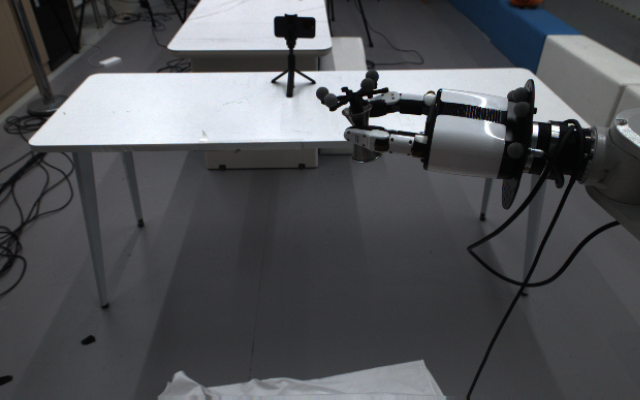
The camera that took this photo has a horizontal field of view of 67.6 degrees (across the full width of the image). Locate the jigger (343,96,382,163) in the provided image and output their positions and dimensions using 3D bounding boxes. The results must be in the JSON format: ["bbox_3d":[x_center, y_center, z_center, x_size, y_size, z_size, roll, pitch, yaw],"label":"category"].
[{"bbox_3d":[0.056,-0.089,0.640,0.043,0.071,0.043,-12,29,7],"label":"jigger"}]
